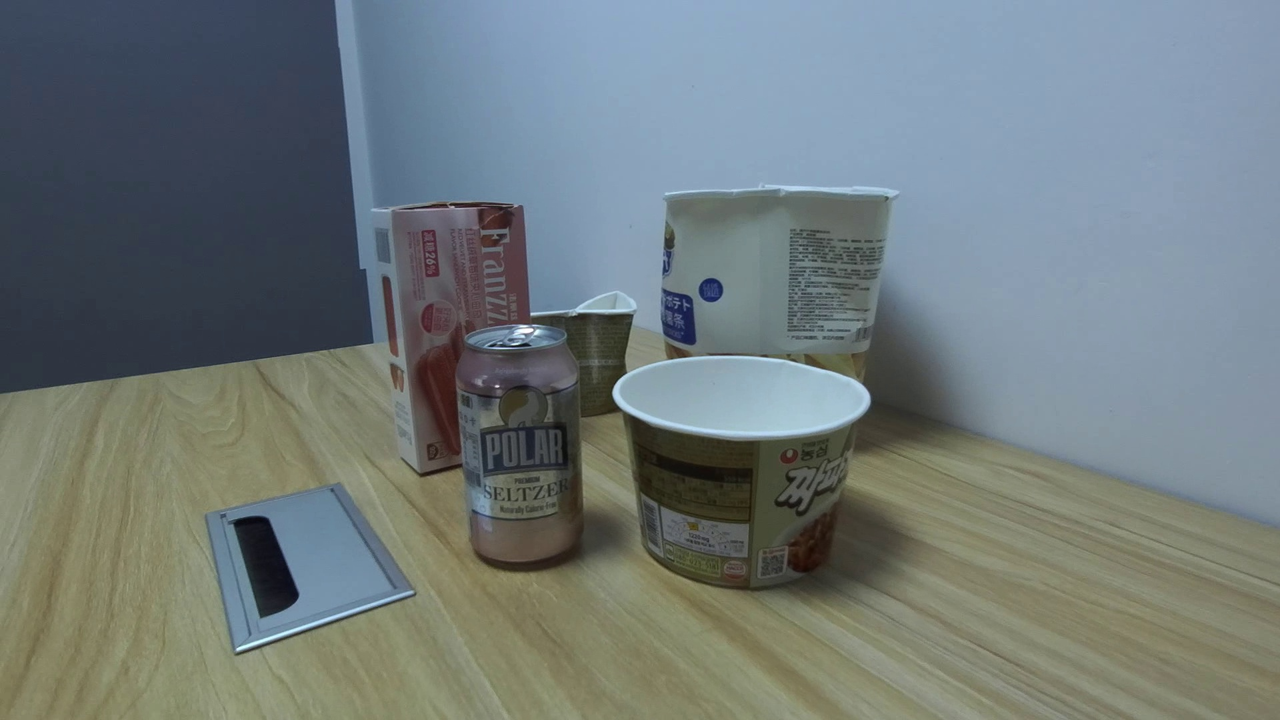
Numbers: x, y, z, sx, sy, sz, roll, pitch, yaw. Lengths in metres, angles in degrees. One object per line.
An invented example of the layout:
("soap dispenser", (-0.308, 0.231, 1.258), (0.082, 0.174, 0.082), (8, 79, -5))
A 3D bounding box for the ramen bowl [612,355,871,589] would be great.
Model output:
("ramen bowl", (0.055, 0.060, 0.403), (0.140, 0.095, 0.140), (-1, 15, 0))

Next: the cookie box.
("cookie box", (-0.127, -0.021, 0.522), (0.105, 0.187, 0.048), (-10, 16, -32))

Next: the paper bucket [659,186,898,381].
("paper bucket", (0.102, -0.041, 0.570), (0.169, 0.202, 0.162), (3, 15, 2))

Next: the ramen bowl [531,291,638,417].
("ramen bowl", (-0.070, -0.010, 0.655), (0.128, 0.093, 0.111), (-3, 16, -14))
